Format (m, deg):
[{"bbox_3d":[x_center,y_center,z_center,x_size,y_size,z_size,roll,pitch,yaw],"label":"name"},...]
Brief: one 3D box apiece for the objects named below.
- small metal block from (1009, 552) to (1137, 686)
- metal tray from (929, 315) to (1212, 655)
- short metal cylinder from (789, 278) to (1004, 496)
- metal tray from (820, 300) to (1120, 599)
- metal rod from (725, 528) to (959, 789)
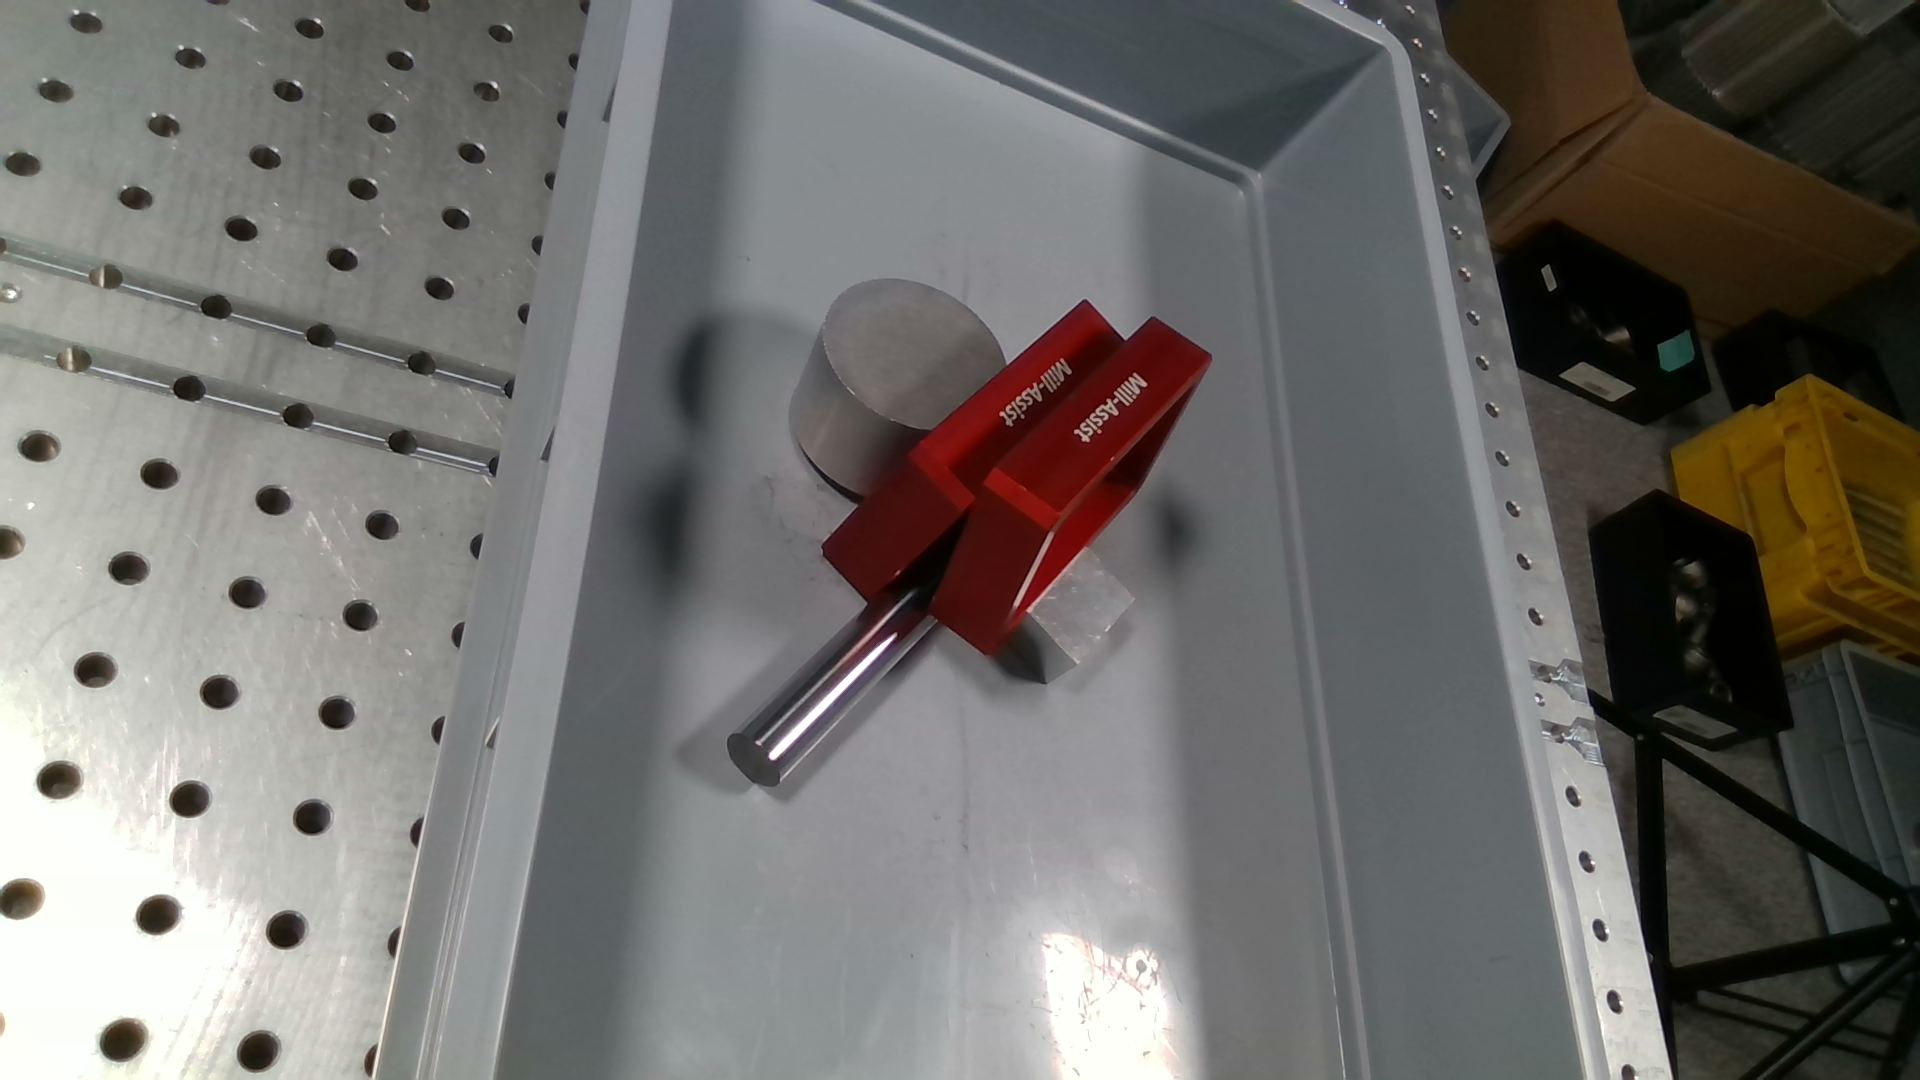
[{"bbox_3d":[0.041,0.026,0.596,0.050,0.025,0.050,48,51,-1],"label":"small metal block"},{"bbox_3d":[0.045,-0.023,0.550,0.030,0.090,0.130,36,50,12],"label":"metal tray"},{"bbox_3d":[-0.027,-0.063,0.579,0.080,0.050,0.080,12,54,-18],"label":"short metal cylinder"},{"bbox_3d":[0.008,-0.038,0.568,0.030,0.090,0.130,47,51,-1],"label":"metal tray"},{"bbox_3d":[0.008,-0.001,0.592,0.025,0.025,0.299,47,51,-1],"label":"metal rod"}]
